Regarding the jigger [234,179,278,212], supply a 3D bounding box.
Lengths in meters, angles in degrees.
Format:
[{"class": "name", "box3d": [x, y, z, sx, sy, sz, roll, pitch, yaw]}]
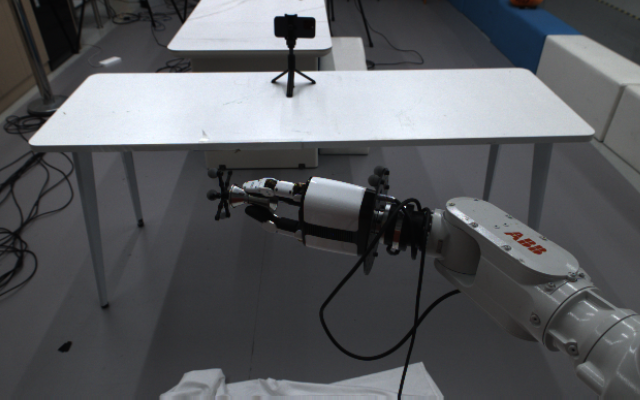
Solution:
[{"class": "jigger", "box3d": [-0.097, -0.008, 0.765, 0.071, 0.043, 0.043, 5, 34, 12]}]
